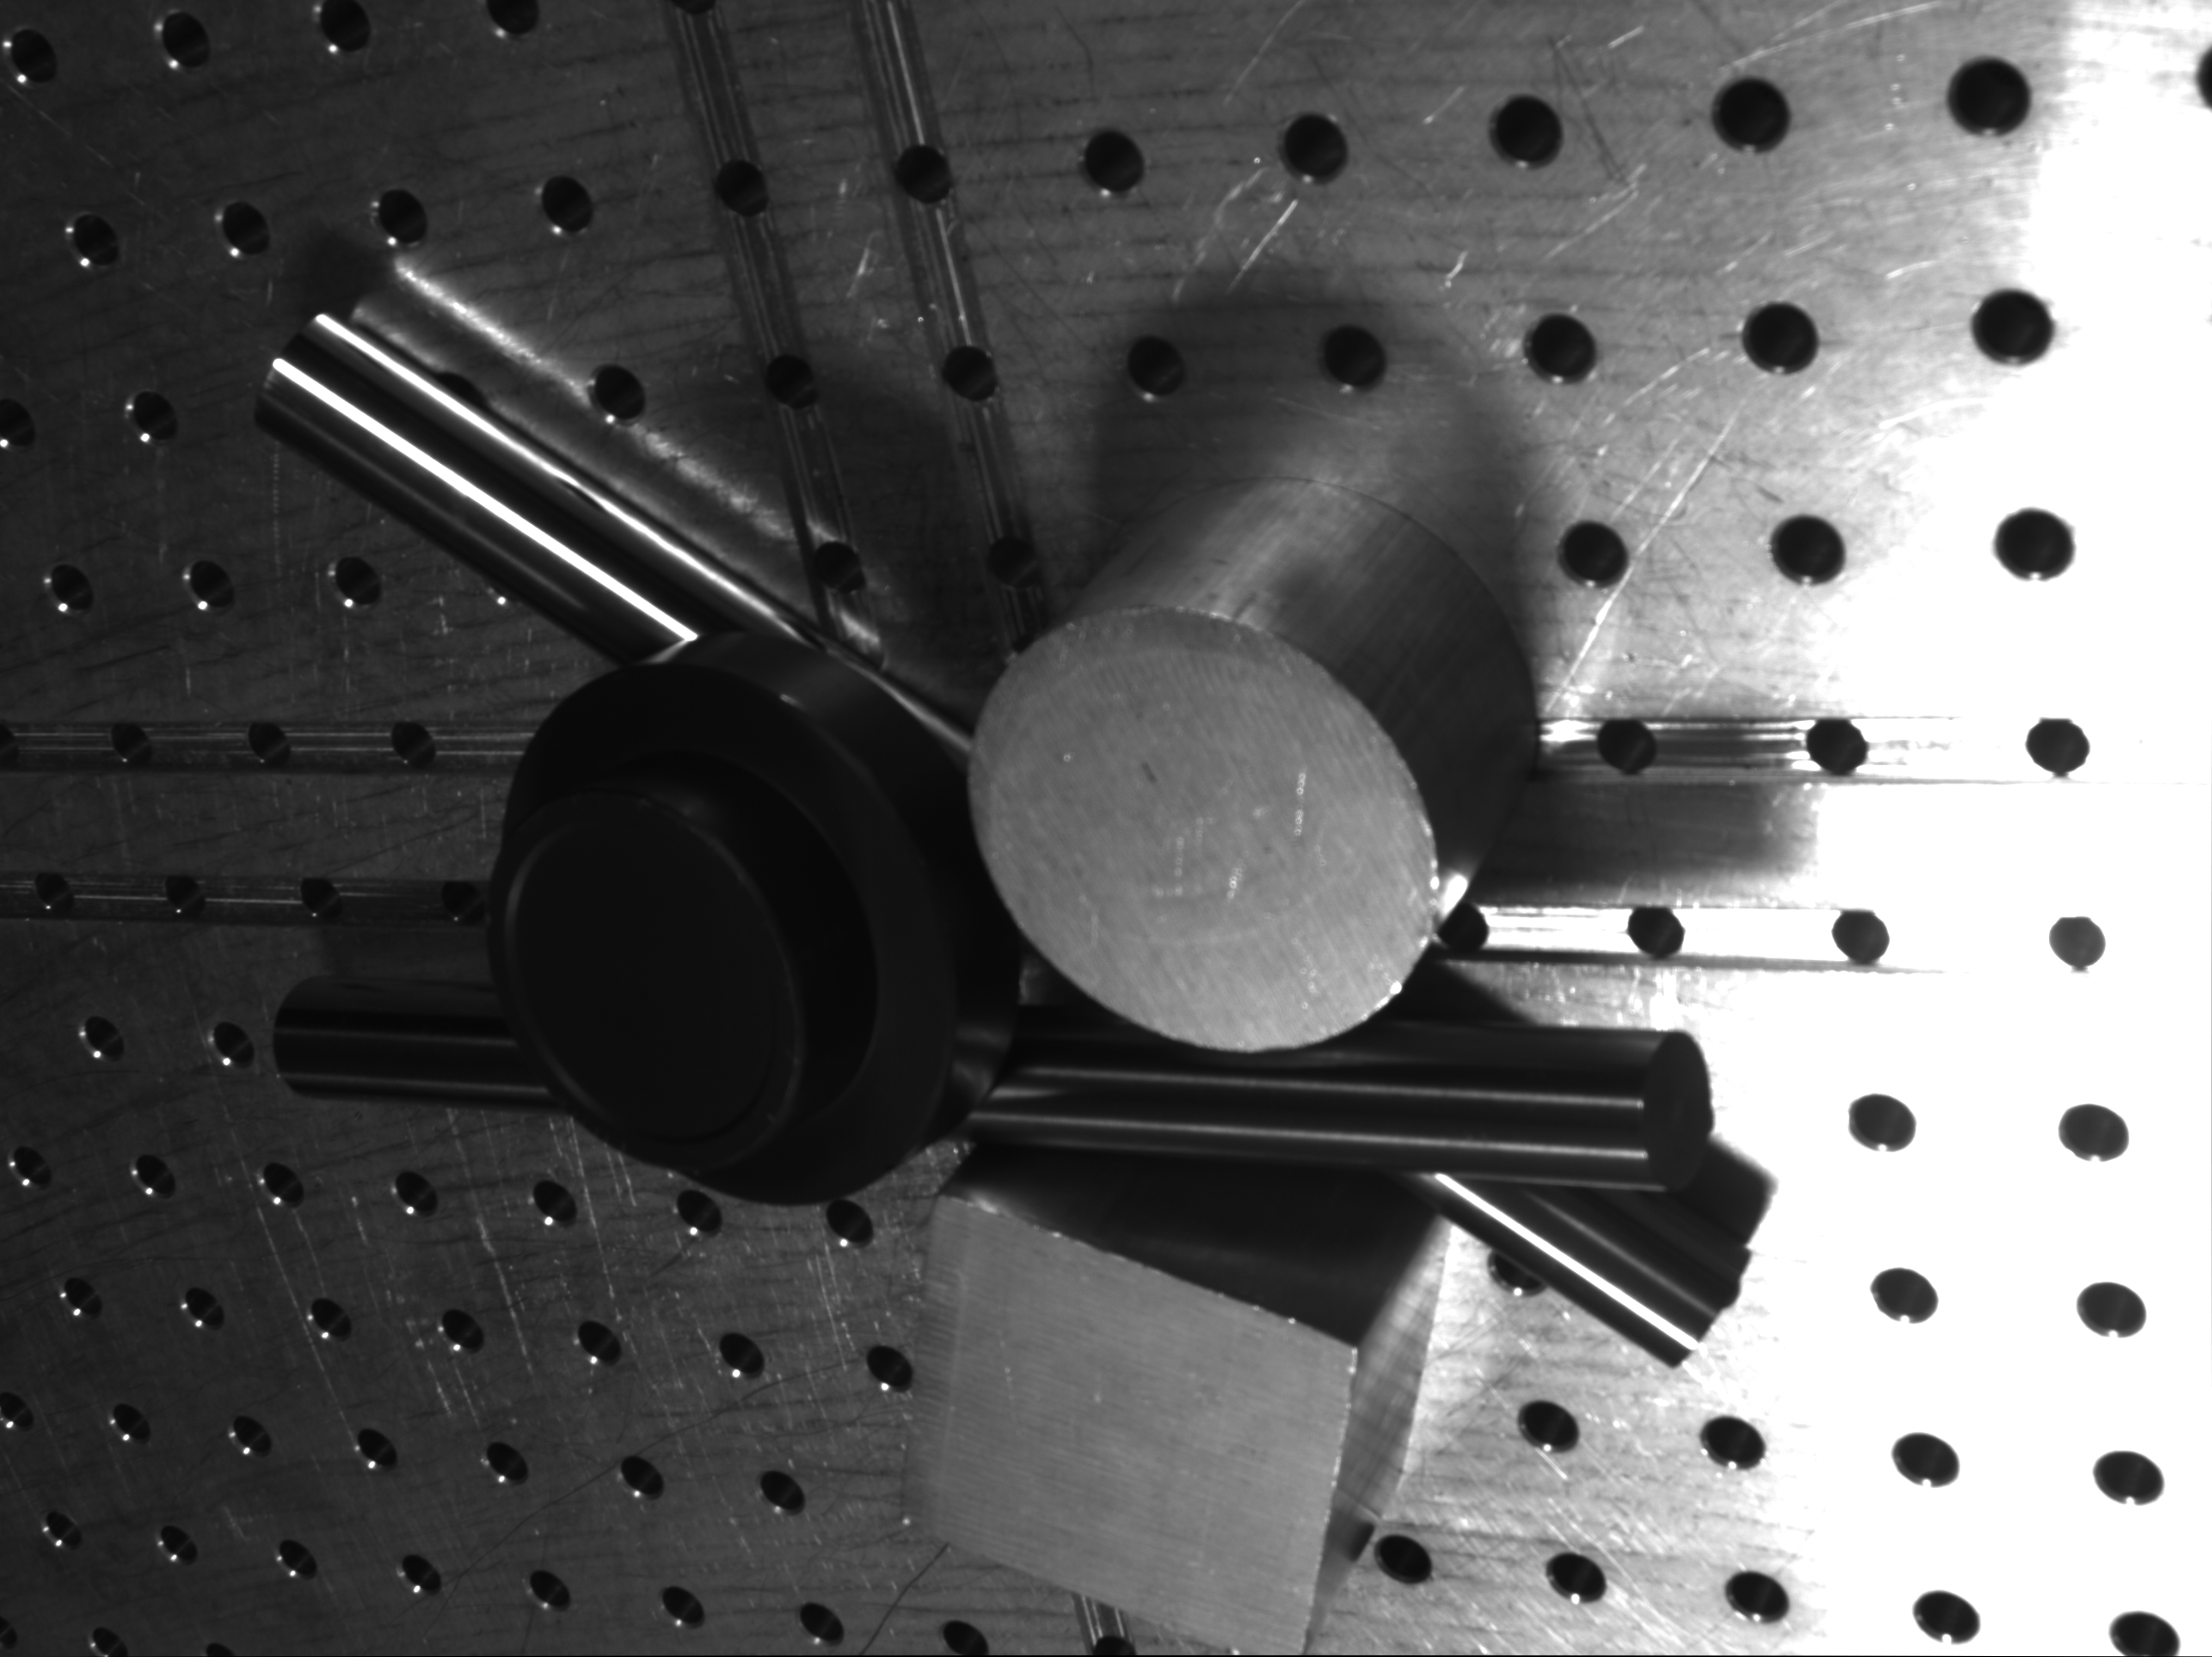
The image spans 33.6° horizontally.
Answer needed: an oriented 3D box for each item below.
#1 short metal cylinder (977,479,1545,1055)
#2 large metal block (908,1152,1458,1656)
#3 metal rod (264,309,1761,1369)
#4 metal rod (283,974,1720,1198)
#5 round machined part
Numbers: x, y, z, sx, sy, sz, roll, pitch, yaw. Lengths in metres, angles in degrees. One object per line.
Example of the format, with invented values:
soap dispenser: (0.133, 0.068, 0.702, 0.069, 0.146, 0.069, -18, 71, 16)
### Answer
short metal cylinder: (0.026, -0.010, 0.598, 0.080, 0.050, 0.080, 12, 123, 20)
large metal block: (0.014, 0.096, 0.666, 0.080, 0.050, 0.080, 18, 125, 16)
metal rod: (-0.019, 0.000, 0.644, 0.300, 0.025, 0.025, 34, 128, 5)
metal rod: (-0.033, 0.043, 0.653, 0.299, 0.025, 0.025, 1, 119, 35)
round machined part: (-0.064, 0.019, 0.624, 0.098, 0.042, 0.098, 13, 116, 28)
